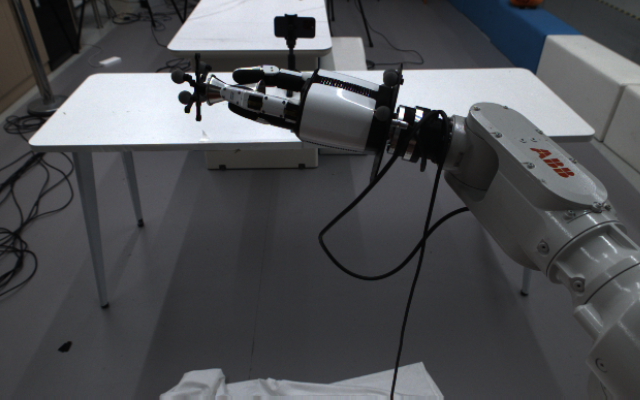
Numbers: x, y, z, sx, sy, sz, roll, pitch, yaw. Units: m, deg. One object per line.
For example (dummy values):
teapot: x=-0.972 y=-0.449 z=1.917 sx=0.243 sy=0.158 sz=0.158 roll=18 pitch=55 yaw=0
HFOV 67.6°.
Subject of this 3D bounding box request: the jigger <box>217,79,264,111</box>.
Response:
jigger: x=-0.106 y=-0.143 z=0.631 sx=0.071 sy=0.043 sz=0.043 roll=8 pitch=35 yaw=6
